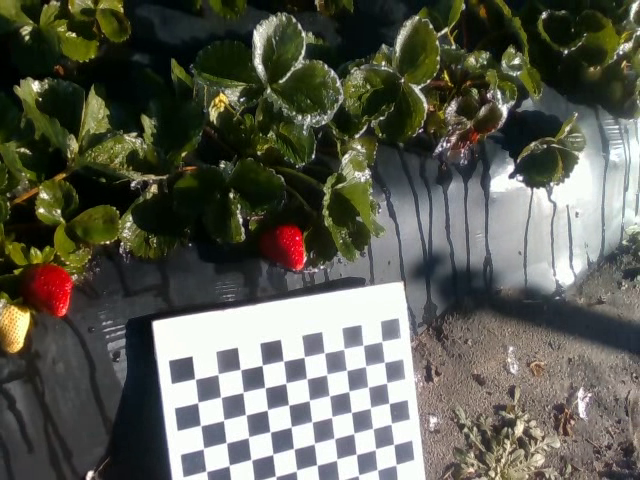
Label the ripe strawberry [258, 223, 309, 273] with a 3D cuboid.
[{"bbox_3d":[-0.033,0.009,0.630,0.048,0.061,0.044,-15,-27,-22],"label":"ripe strawberry"}]

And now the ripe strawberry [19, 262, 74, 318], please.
[{"bbox_3d":[-0.243,0.052,0.551,0.042,0.061,0.046,-23,-33,-21],"label":"ripe strawberry"}]
